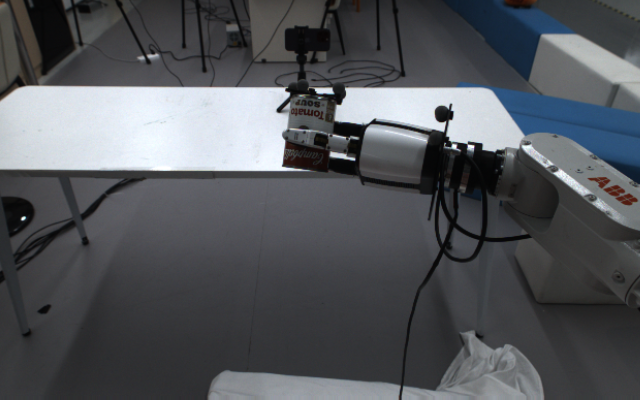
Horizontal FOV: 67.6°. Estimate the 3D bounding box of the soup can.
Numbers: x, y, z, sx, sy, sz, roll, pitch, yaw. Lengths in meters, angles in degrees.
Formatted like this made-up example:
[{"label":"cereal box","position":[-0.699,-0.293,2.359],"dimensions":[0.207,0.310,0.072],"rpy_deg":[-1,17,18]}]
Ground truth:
[{"label":"soup can","position":[-0.015,-0.094,0.692],"dimensions":[0.067,0.101,0.067],"rpy_deg":[7,4,0]}]
